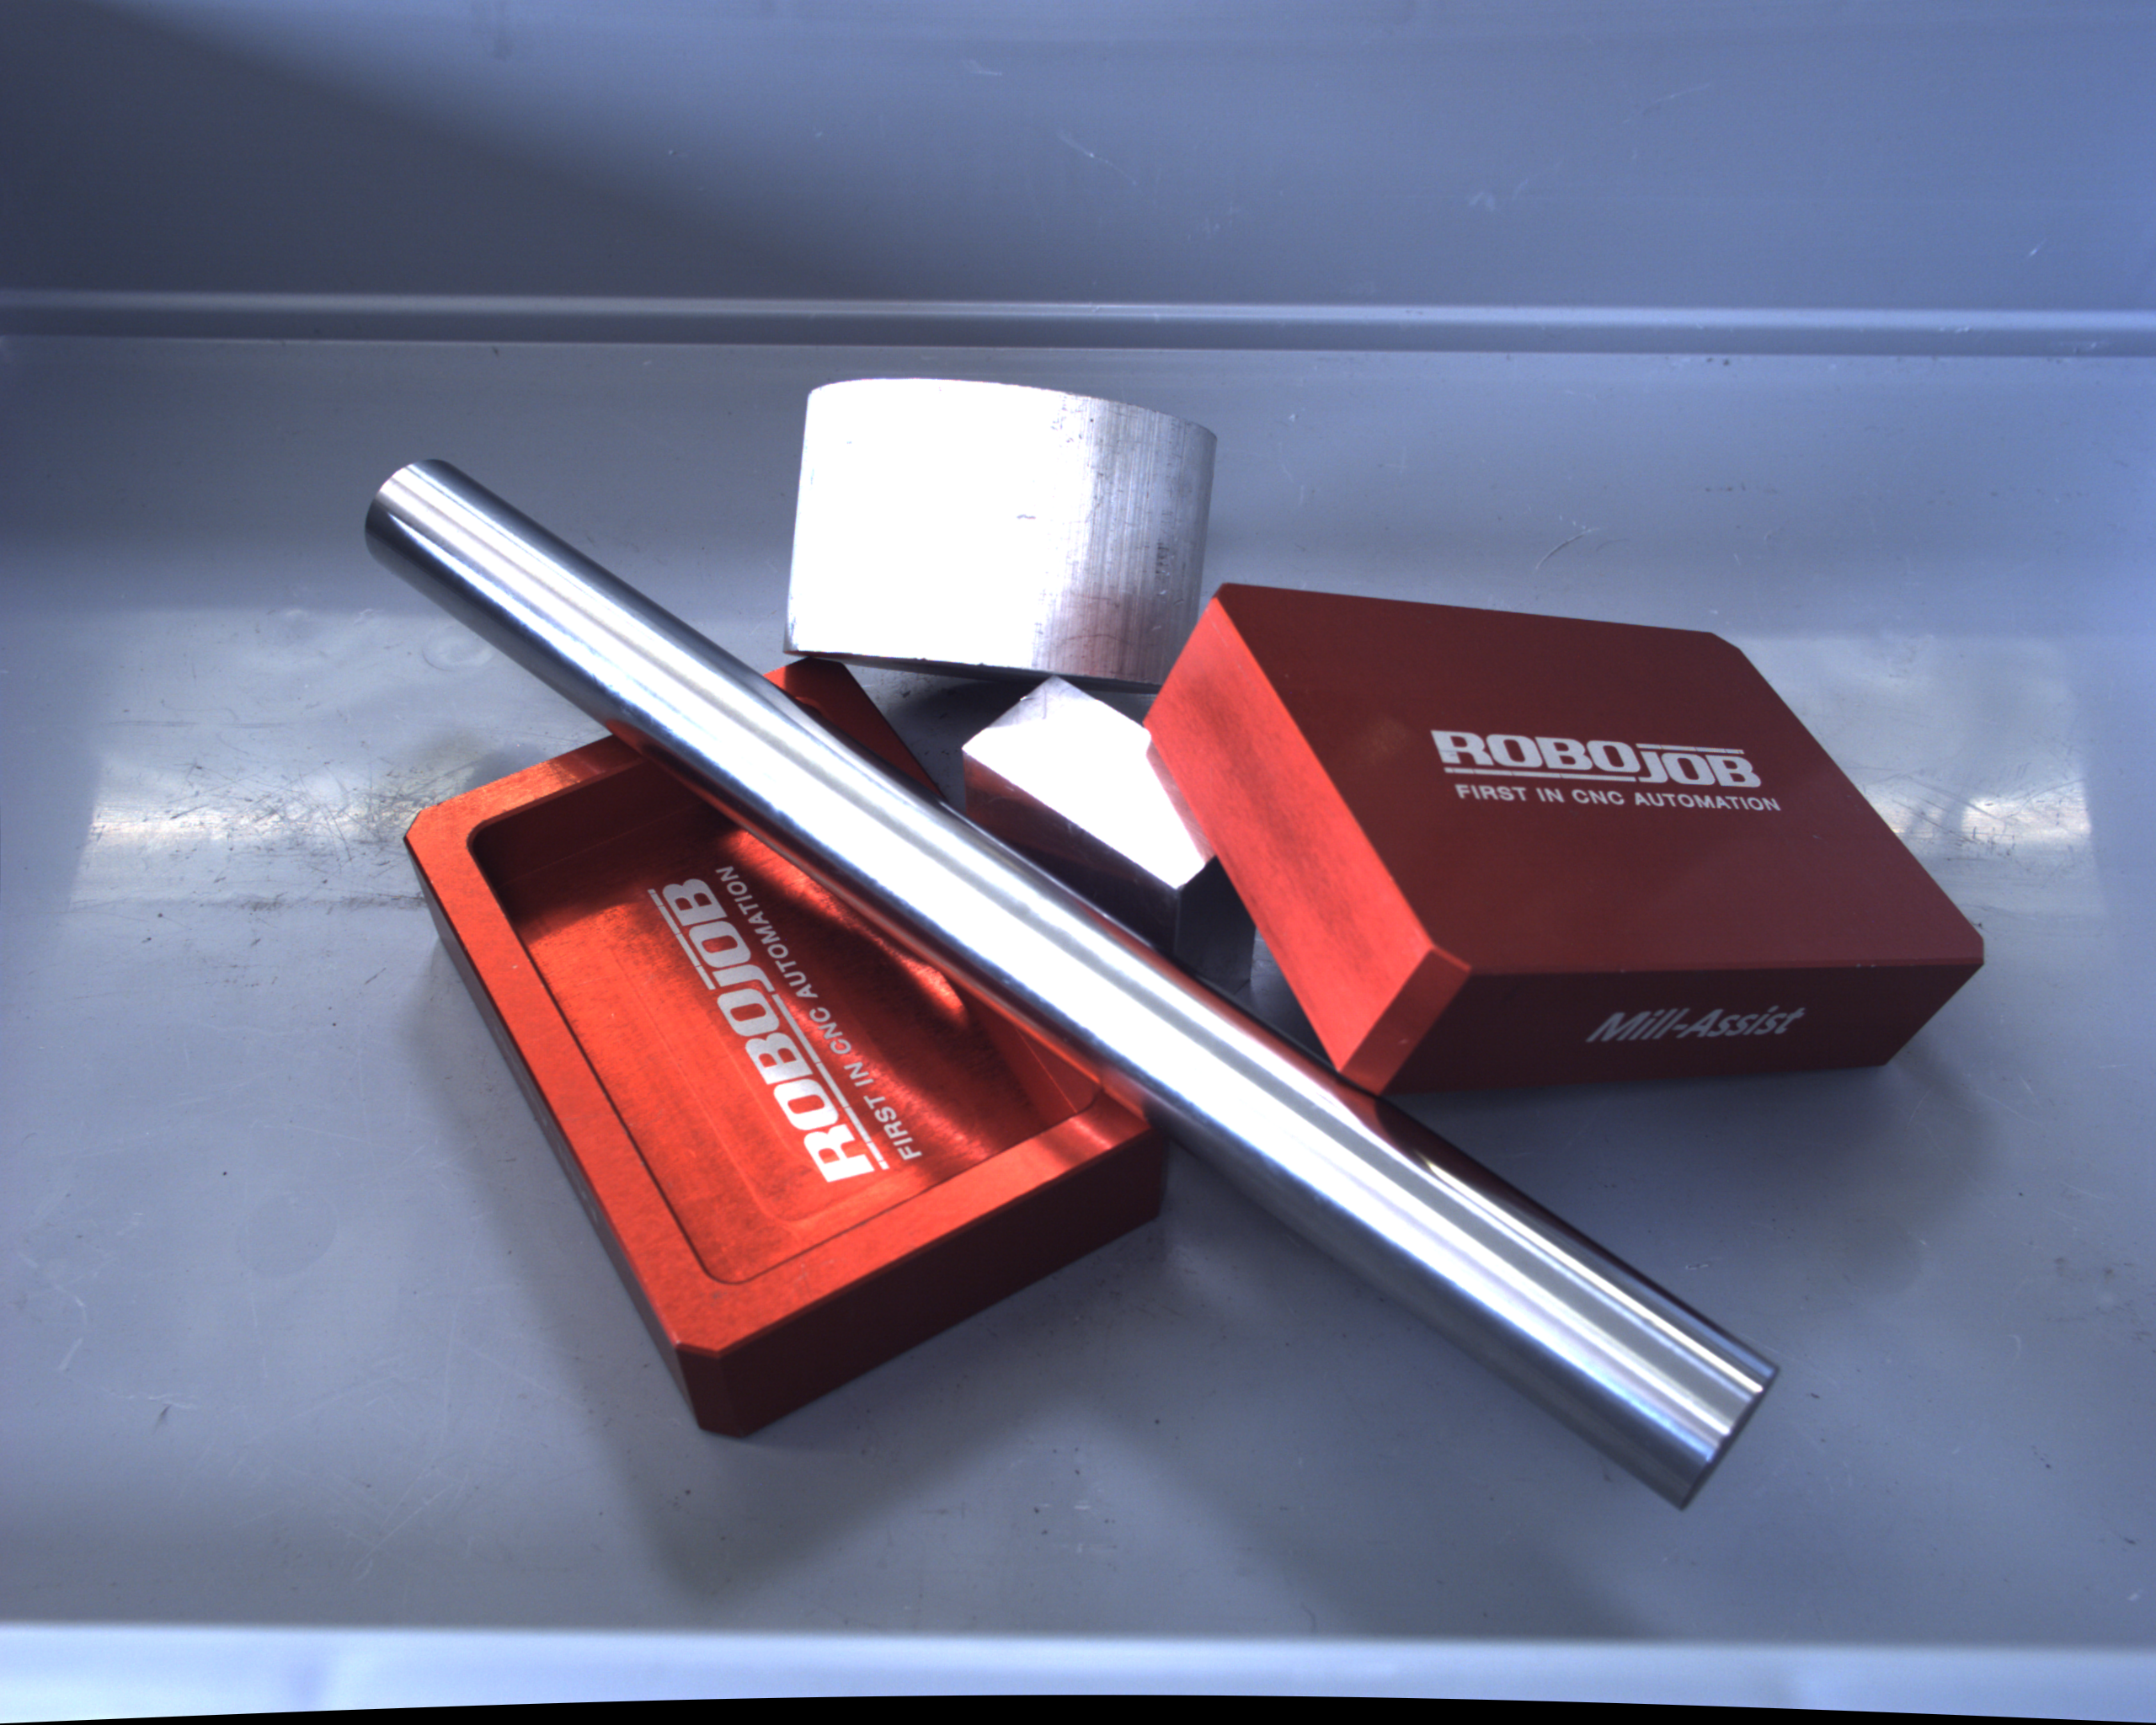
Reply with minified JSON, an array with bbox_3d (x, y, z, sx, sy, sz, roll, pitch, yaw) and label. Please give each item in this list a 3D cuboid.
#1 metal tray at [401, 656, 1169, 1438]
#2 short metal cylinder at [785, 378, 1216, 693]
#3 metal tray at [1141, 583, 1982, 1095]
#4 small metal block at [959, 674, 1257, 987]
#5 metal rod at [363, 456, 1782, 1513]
[{"bbox_3d":[-0.054,0.026,0.377,0.091,0.030,0.130,-25,55,-20],"label":"metal tray"},{"bbox_3d":[-0.015,-0.062,0.411,0.080,0.080,0.050,6,92,5],"label":"short metal cylinder"},{"bbox_3d":[0.087,-0.005,0.371,0.131,0.030,0.090,1,45,-32],"label":"metal tray"},{"bbox_3d":[0.006,0.000,0.385,0.050,0.050,0.025,33,58,25],"label":"small metal block"},{"bbox_3d":[-0.020,0.006,0.359,0.300,0.025,0.025,34,58,25],"label":"metal rod"}]
